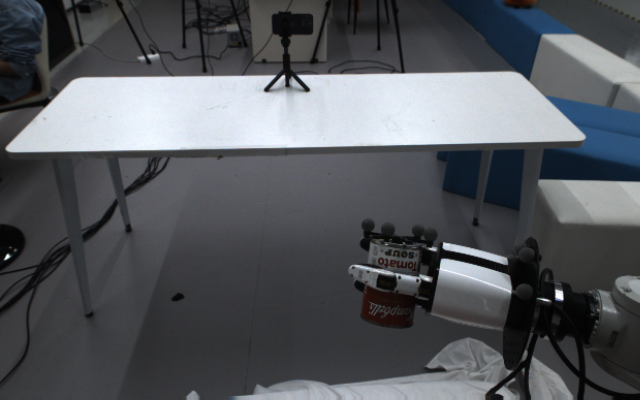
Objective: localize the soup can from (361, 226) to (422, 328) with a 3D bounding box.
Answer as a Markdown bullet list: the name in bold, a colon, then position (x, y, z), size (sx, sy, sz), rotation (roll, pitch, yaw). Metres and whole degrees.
- **soup can**: position (0.093, 0.103, 0.612), size (0.067, 0.101, 0.067), rotation (7, 3, 0)
